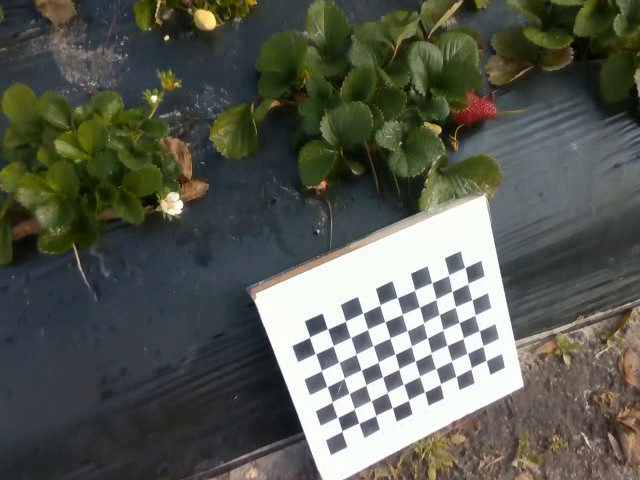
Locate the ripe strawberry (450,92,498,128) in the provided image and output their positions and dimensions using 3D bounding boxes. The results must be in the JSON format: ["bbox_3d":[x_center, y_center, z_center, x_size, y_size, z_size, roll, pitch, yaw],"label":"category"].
[{"bbox_3d":[0.179,-0.149,0.694,0.064,0.051,0.043,10,12,-18],"label":"ripe strawberry"}]
